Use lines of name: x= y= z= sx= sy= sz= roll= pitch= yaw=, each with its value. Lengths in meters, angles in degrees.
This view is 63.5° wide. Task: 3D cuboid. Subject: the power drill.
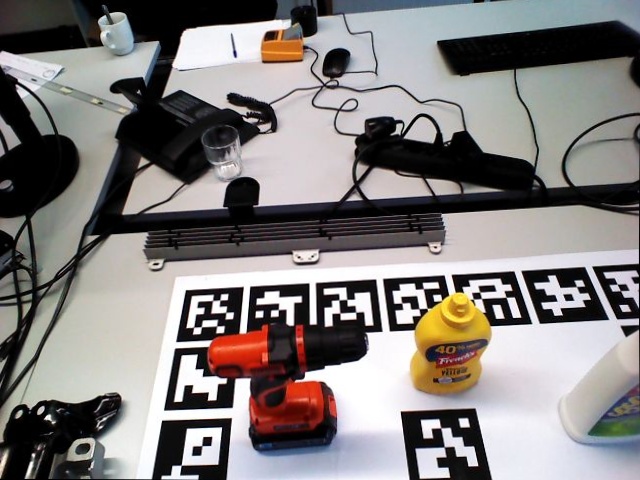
power drill: x=-0.017 y=0.157 z=0.618 sx=0.185 sy=0.187 sz=0.057 roll=-10 pitch=49 yaw=3

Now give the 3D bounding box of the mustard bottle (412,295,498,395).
mustard bottle: x=0.174 y=0.131 z=0.659 sx=0.096 sy=0.192 sz=0.058 roll=-8 pitch=49 yaw=-3

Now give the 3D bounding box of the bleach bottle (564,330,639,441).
bleach bottle: x=0.363 y=0.148 z=0.580 sx=0.103 sy=0.251 sz=0.067 roll=3 pitch=50 yaw=8
